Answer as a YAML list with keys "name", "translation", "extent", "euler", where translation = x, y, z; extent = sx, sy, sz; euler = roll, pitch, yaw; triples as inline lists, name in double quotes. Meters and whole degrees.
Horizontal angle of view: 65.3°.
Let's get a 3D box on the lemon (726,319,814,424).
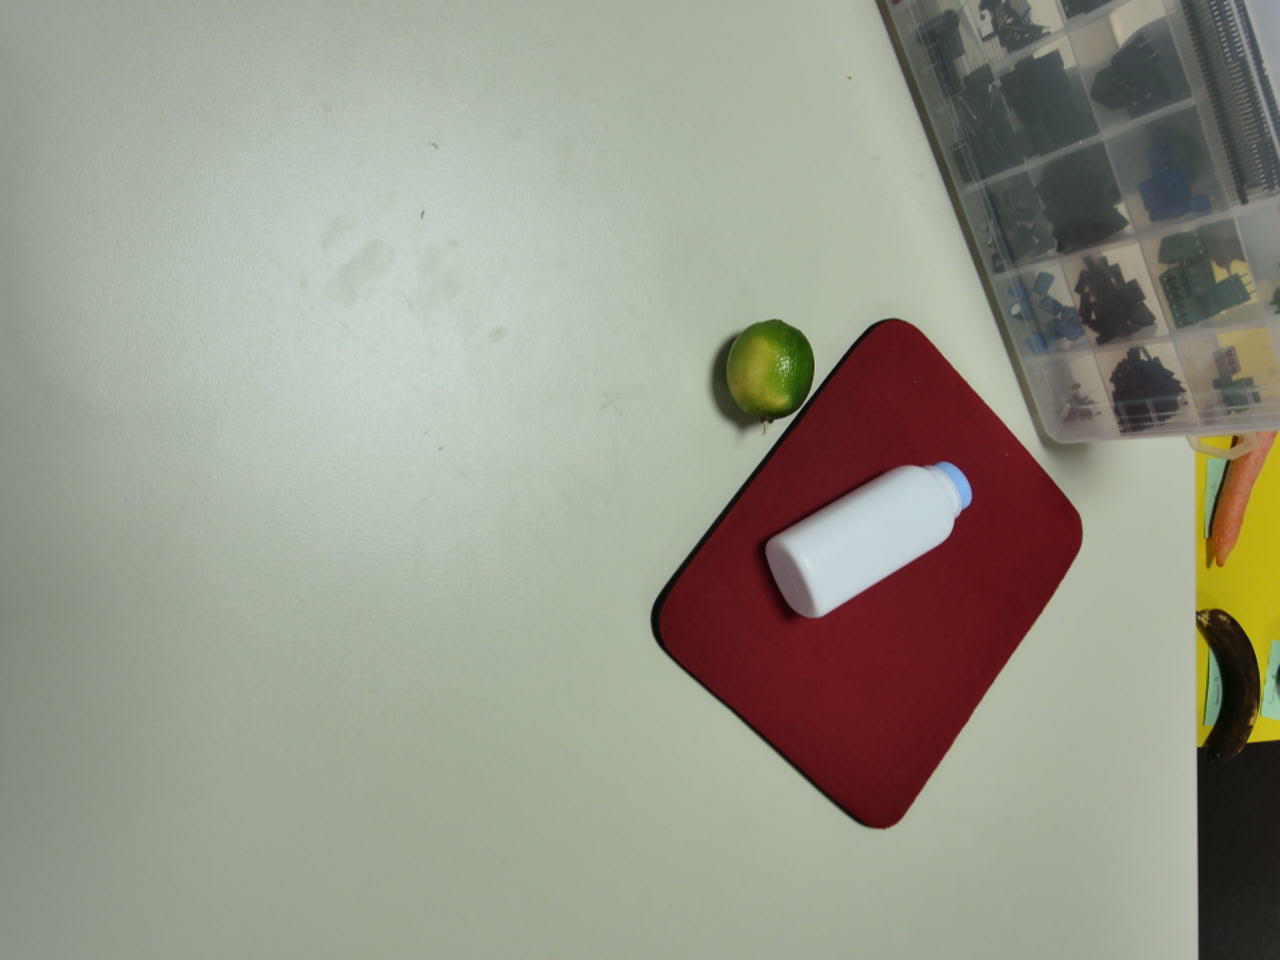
- name: "lemon"
  translation: [0.076, -0.064, 0.583]
  extent: [0.055, 0.050, 0.054]
  euler: [-42, 105, -16]
